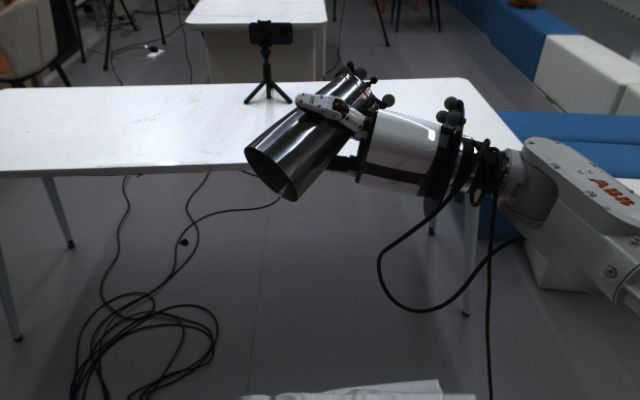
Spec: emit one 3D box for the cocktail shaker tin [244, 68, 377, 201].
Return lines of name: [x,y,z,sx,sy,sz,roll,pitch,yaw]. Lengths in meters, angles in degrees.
cocktail shaker tin: [-0.006,-0.092,0.631,0.093,0.093,0.170,32,66,35]
